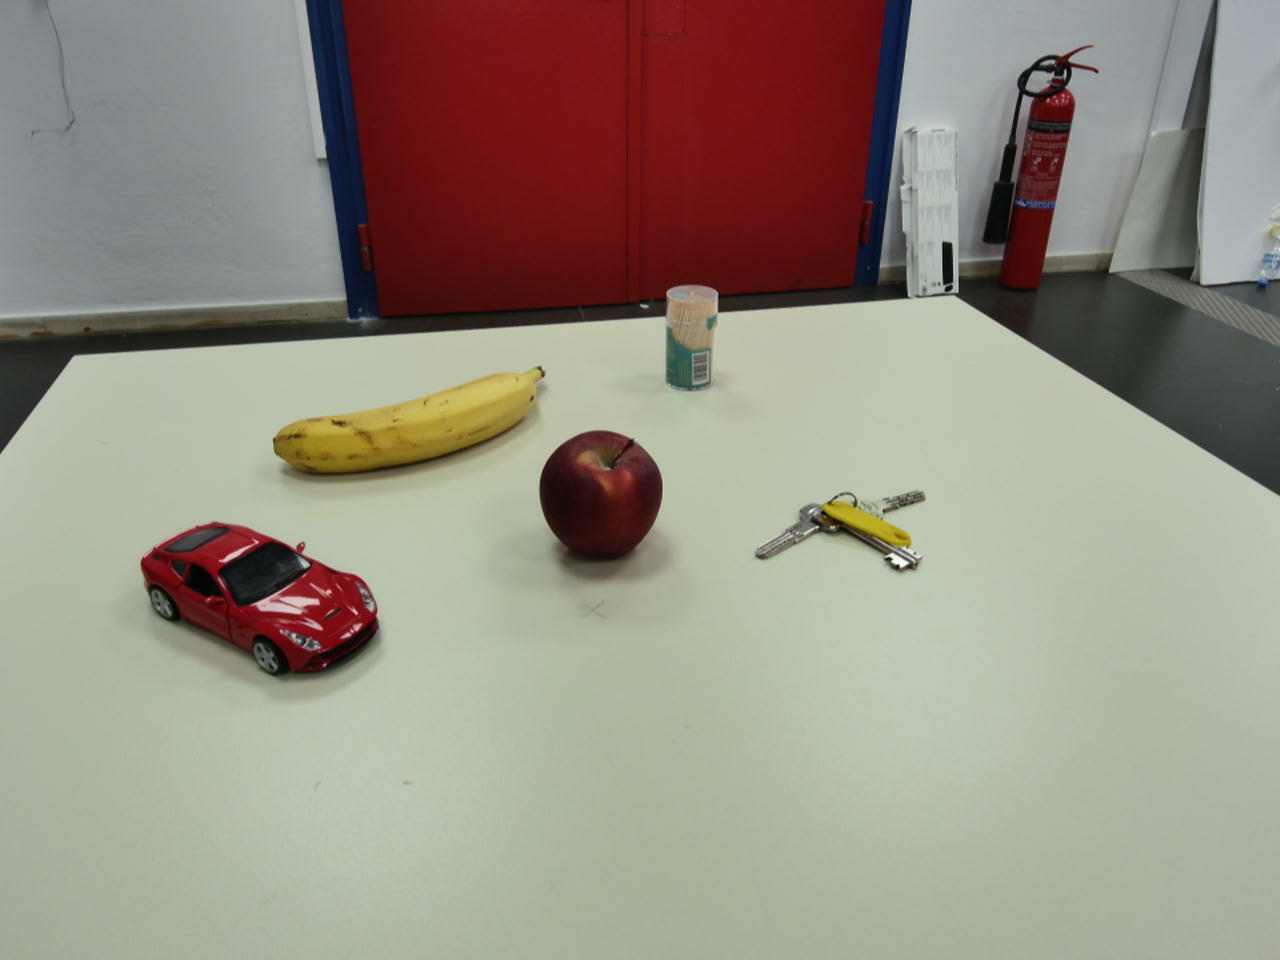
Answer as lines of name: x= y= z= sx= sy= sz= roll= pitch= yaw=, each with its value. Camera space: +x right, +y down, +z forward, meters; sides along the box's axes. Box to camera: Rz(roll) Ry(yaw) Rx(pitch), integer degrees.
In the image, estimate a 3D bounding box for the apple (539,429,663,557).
apple: x=-0.022 y=0.008 z=0.561 sx=0.070 sy=0.072 sz=0.070 roll=1 pitch=27 yaw=0
